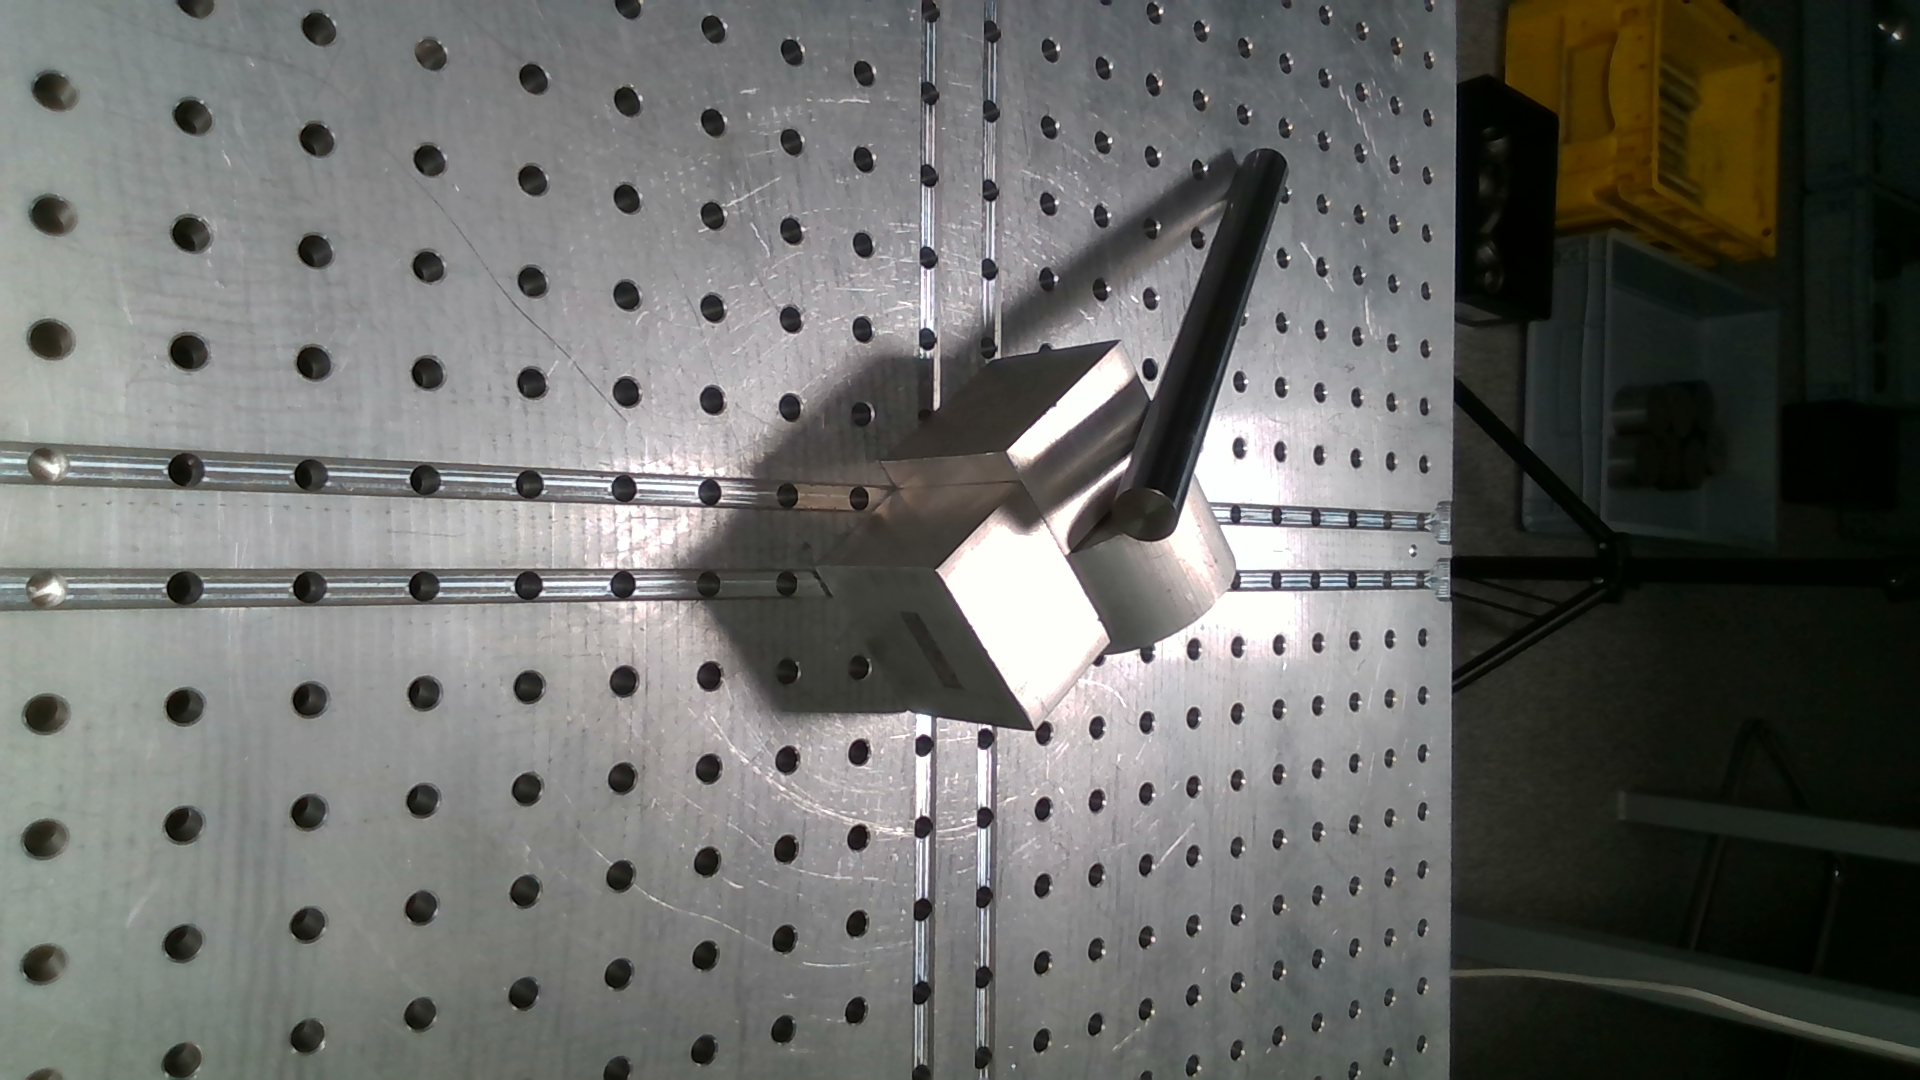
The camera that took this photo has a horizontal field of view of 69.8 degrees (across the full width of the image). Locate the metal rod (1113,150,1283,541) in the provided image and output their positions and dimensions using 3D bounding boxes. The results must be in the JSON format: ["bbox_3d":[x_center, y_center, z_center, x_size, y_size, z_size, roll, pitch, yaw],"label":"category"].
[{"bbox_3d":[0.113,-0.101,0.613,0.025,0.025,0.299,56,36,-25],"label":"metal rod"}]

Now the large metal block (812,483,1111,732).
[{"bbox_3d":[0.000,0.026,0.548,0.050,0.080,0.080,-45,117,-31],"label":"large metal block"}]

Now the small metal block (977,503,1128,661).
[{"bbox_3d":[0.042,0.019,0.623,0.050,0.025,0.050,-49,119,-29],"label":"small metal block"}]

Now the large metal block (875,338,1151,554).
[{"bbox_3d":[0.026,-0.037,0.574,0.080,0.080,0.050,-45,117,-31],"label":"large metal block"}]

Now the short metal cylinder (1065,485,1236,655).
[{"bbox_3d":[0.068,0.003,0.575,0.080,0.080,0.050,-44,117,-31],"label":"short metal cylinder"}]
